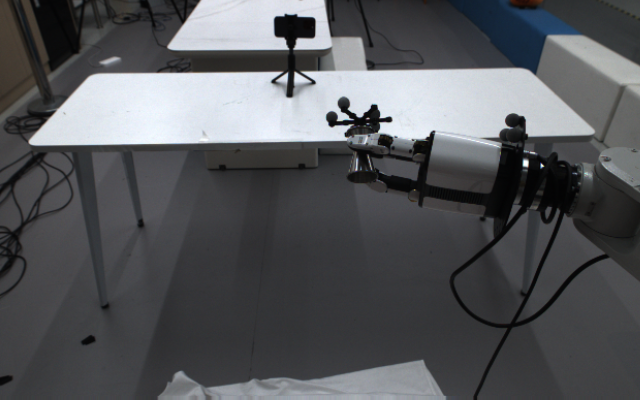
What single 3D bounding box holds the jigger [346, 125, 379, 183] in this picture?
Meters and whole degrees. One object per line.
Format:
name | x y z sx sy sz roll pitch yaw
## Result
jigger | 0.056 -0.064 0.659 0.043 0.043 0.071 1 70 -2
